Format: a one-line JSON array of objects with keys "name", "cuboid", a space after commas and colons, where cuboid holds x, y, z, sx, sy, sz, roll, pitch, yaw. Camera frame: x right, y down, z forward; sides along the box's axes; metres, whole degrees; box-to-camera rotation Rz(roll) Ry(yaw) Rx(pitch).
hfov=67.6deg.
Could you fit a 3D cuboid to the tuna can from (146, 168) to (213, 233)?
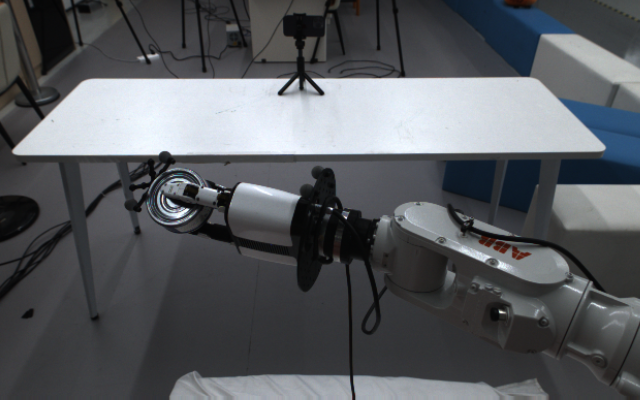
[{"name": "tuna can", "cuboid": [-0.187, 0.001, 0.656, 0.085, 0.034, 0.085, -2, 73, 6]}]
